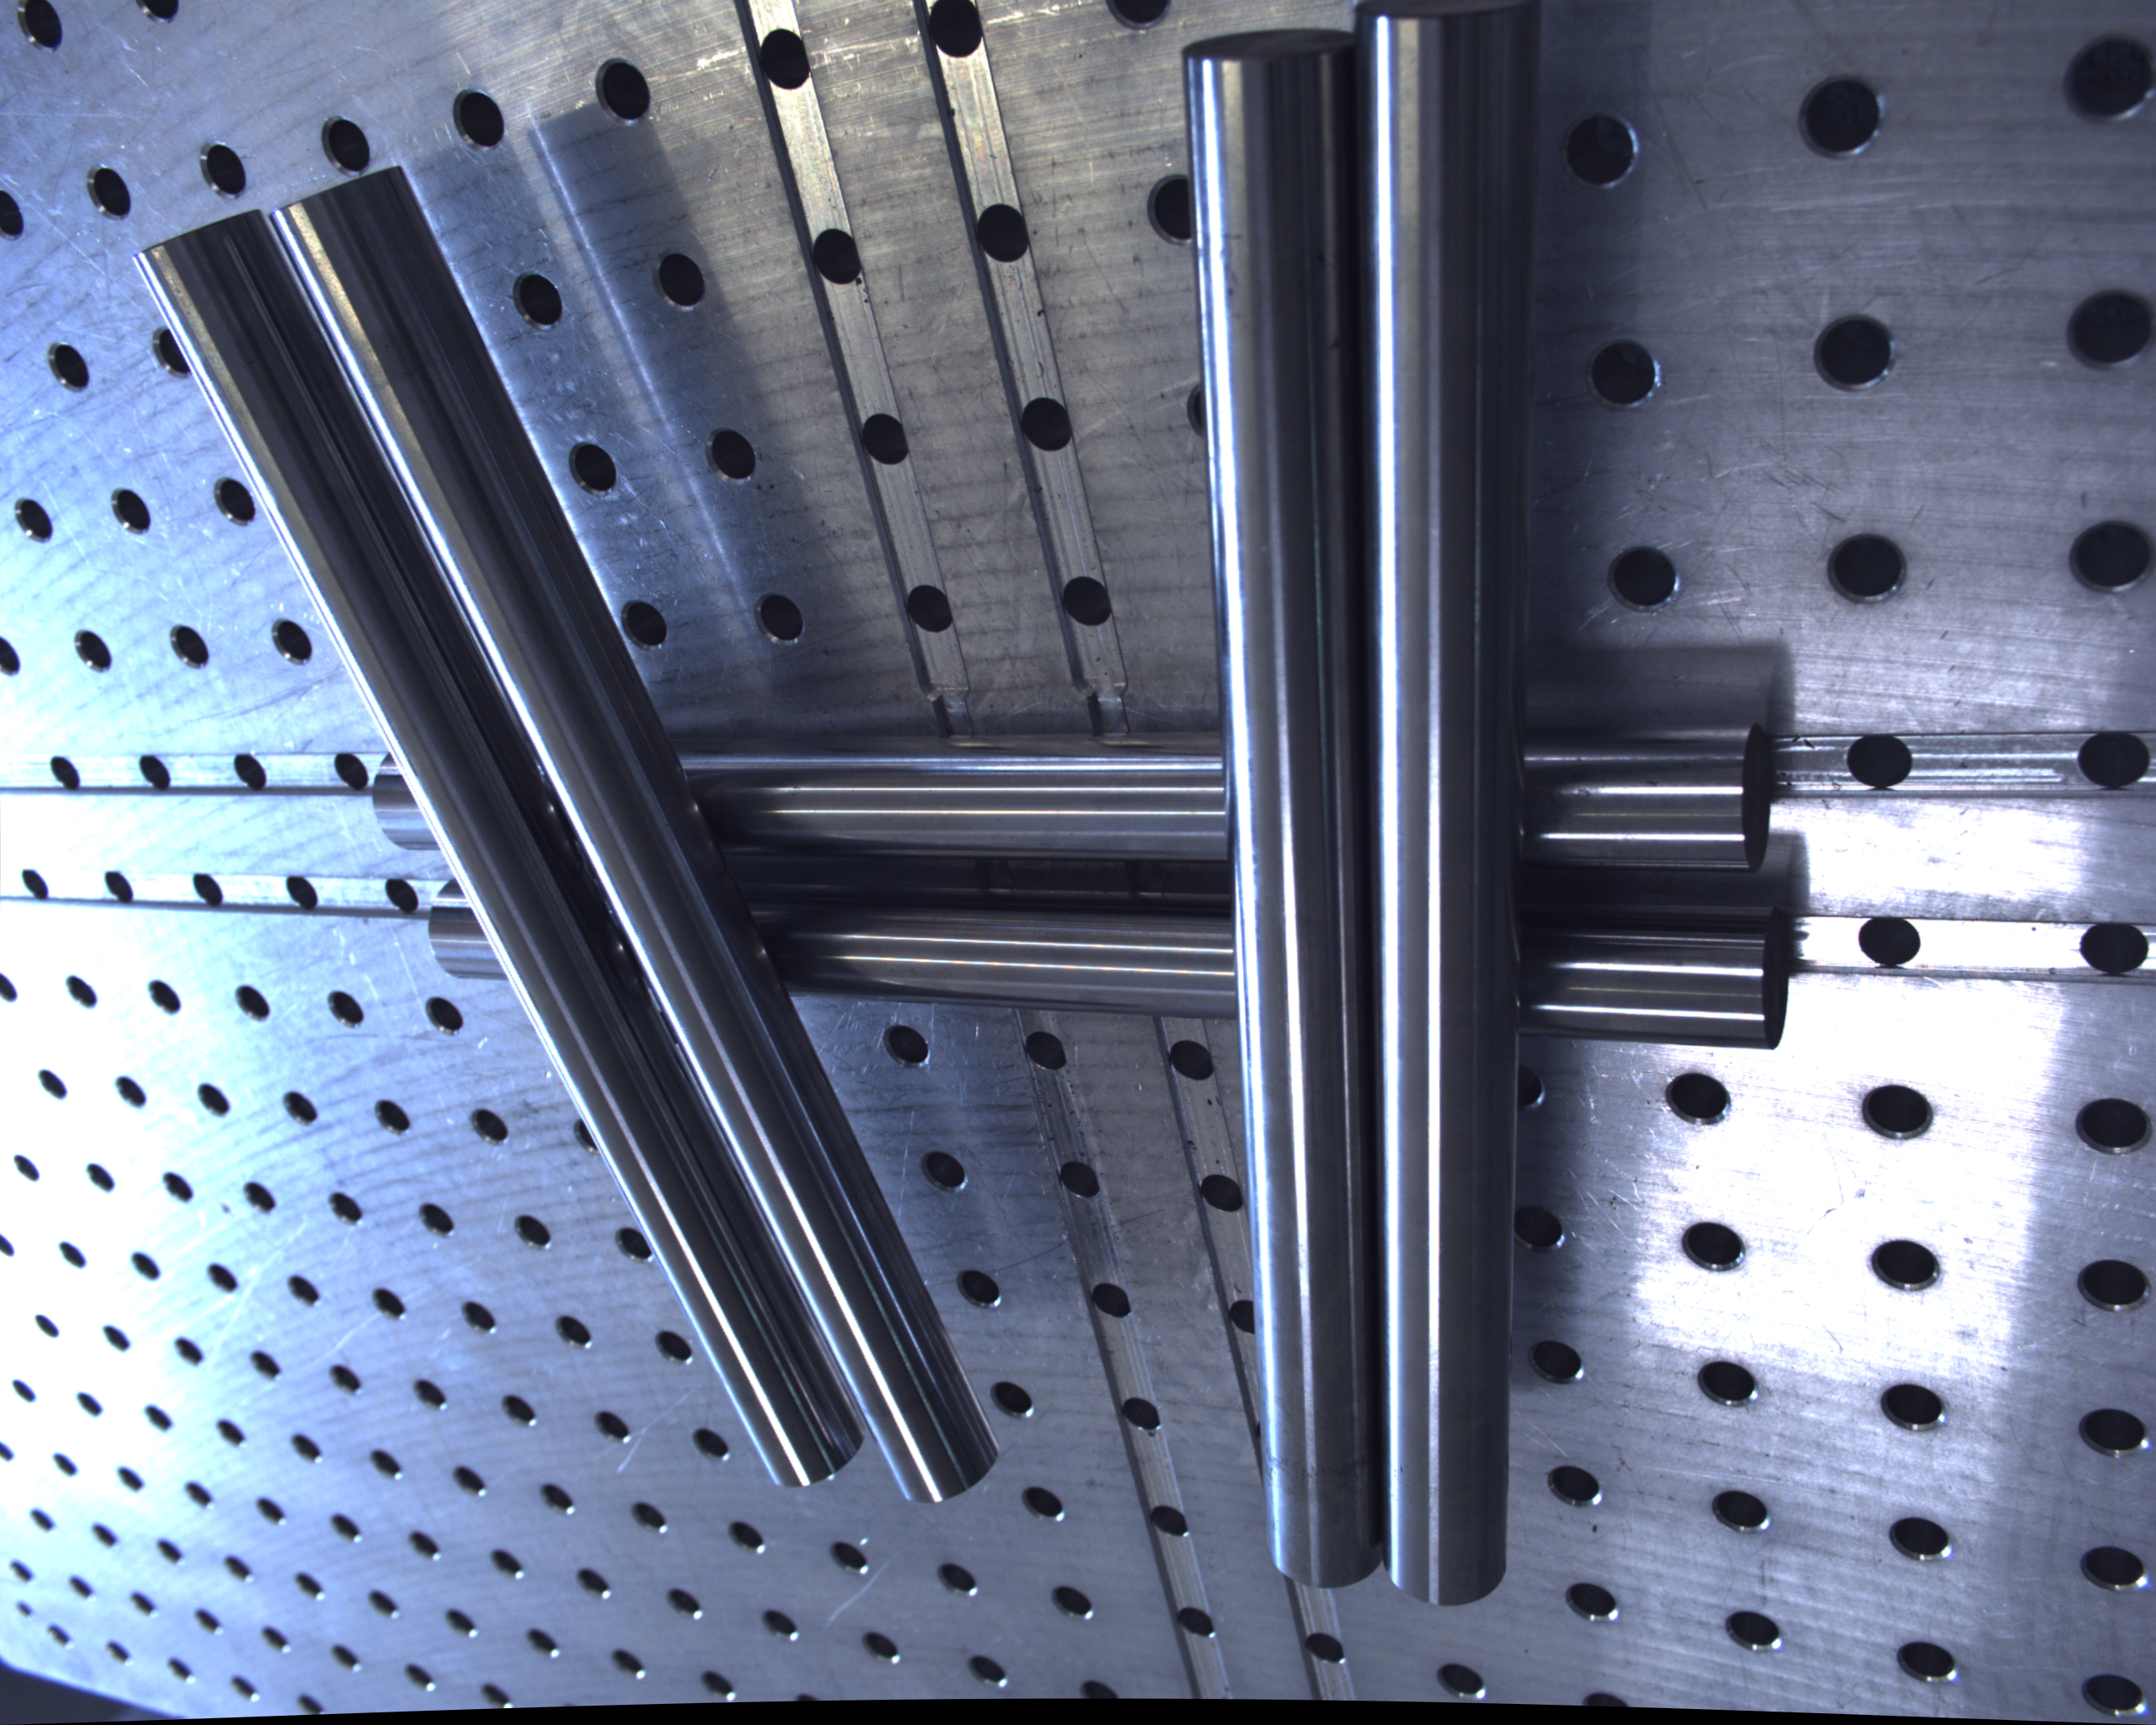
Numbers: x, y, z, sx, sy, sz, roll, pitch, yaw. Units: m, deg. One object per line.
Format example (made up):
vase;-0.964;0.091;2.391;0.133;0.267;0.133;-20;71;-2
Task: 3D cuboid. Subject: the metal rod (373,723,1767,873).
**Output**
metal rod;-0.021;-0.013;0.415;0.300;0.025;0.025;1;119;27

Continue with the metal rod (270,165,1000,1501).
metal rod;-0.082;0.009;0.429;0.025;0.025;0.299;-8;115;32

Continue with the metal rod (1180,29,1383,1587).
metal rod;0.040;0.014;0.368;0.025;0.025;0.298;9;122;24

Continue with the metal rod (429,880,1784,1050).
metal rod;-0.013;0.017;0.430;0.300;0.025;0.025;1;119;27

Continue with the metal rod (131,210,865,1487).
metal rod;-0.115;0.011;0.448;0.025;0.025;0.299;-8;114;32

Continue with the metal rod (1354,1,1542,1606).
metal rod;0.063;0.013;0.355;0.025;0.025;0.298;9;122;24
